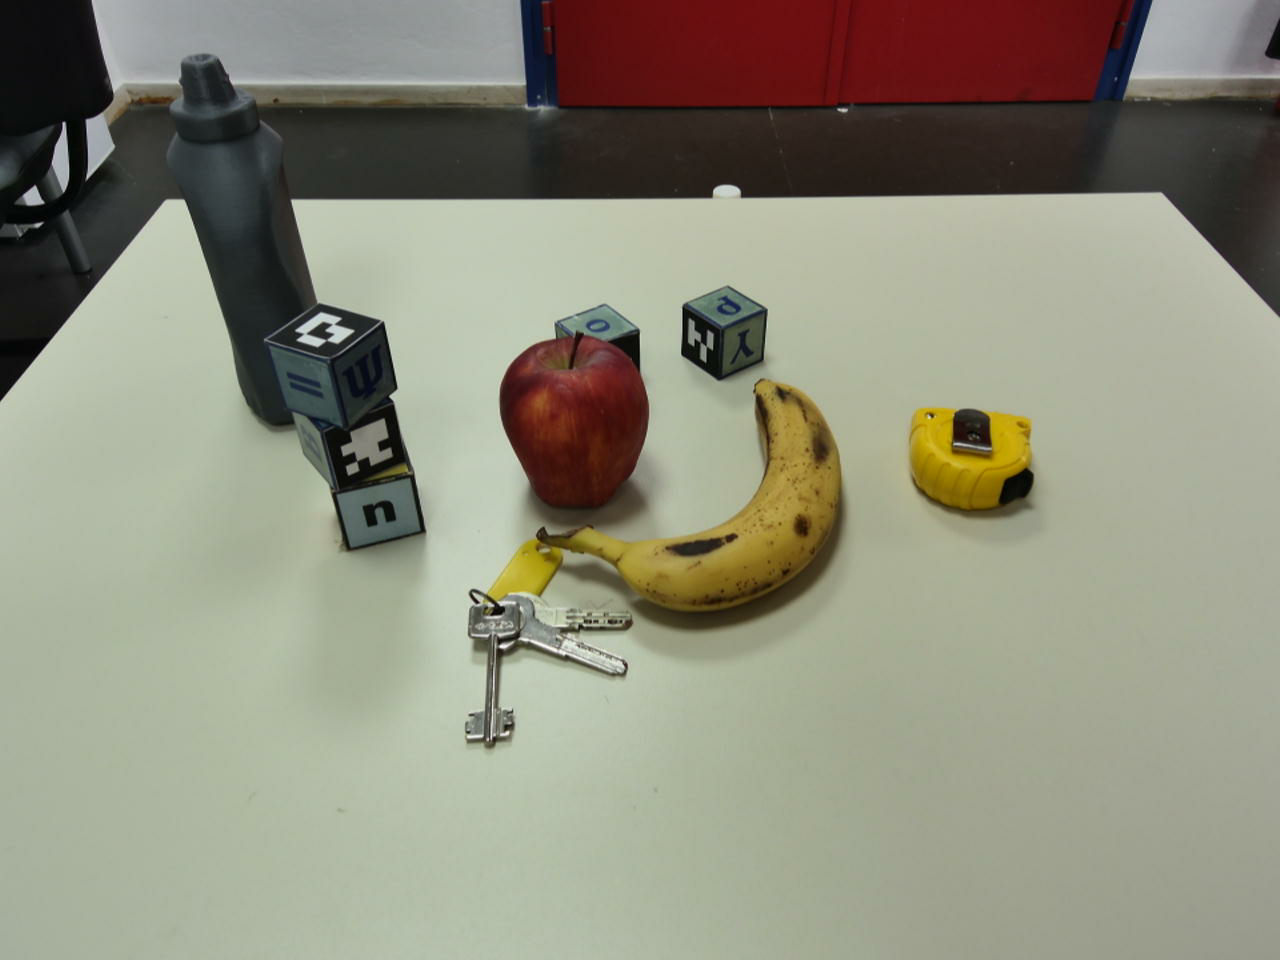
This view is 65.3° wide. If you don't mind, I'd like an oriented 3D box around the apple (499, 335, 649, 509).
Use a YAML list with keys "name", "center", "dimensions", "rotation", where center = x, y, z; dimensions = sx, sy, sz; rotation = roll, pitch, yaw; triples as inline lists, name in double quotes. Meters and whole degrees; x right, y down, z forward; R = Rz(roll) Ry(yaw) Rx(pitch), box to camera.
- name: "apple"
  center: [-0.035, -0.036, 0.516]
  dimensions: [0.083, 0.090, 0.083]
  rotation: [-1, 39, 1]
